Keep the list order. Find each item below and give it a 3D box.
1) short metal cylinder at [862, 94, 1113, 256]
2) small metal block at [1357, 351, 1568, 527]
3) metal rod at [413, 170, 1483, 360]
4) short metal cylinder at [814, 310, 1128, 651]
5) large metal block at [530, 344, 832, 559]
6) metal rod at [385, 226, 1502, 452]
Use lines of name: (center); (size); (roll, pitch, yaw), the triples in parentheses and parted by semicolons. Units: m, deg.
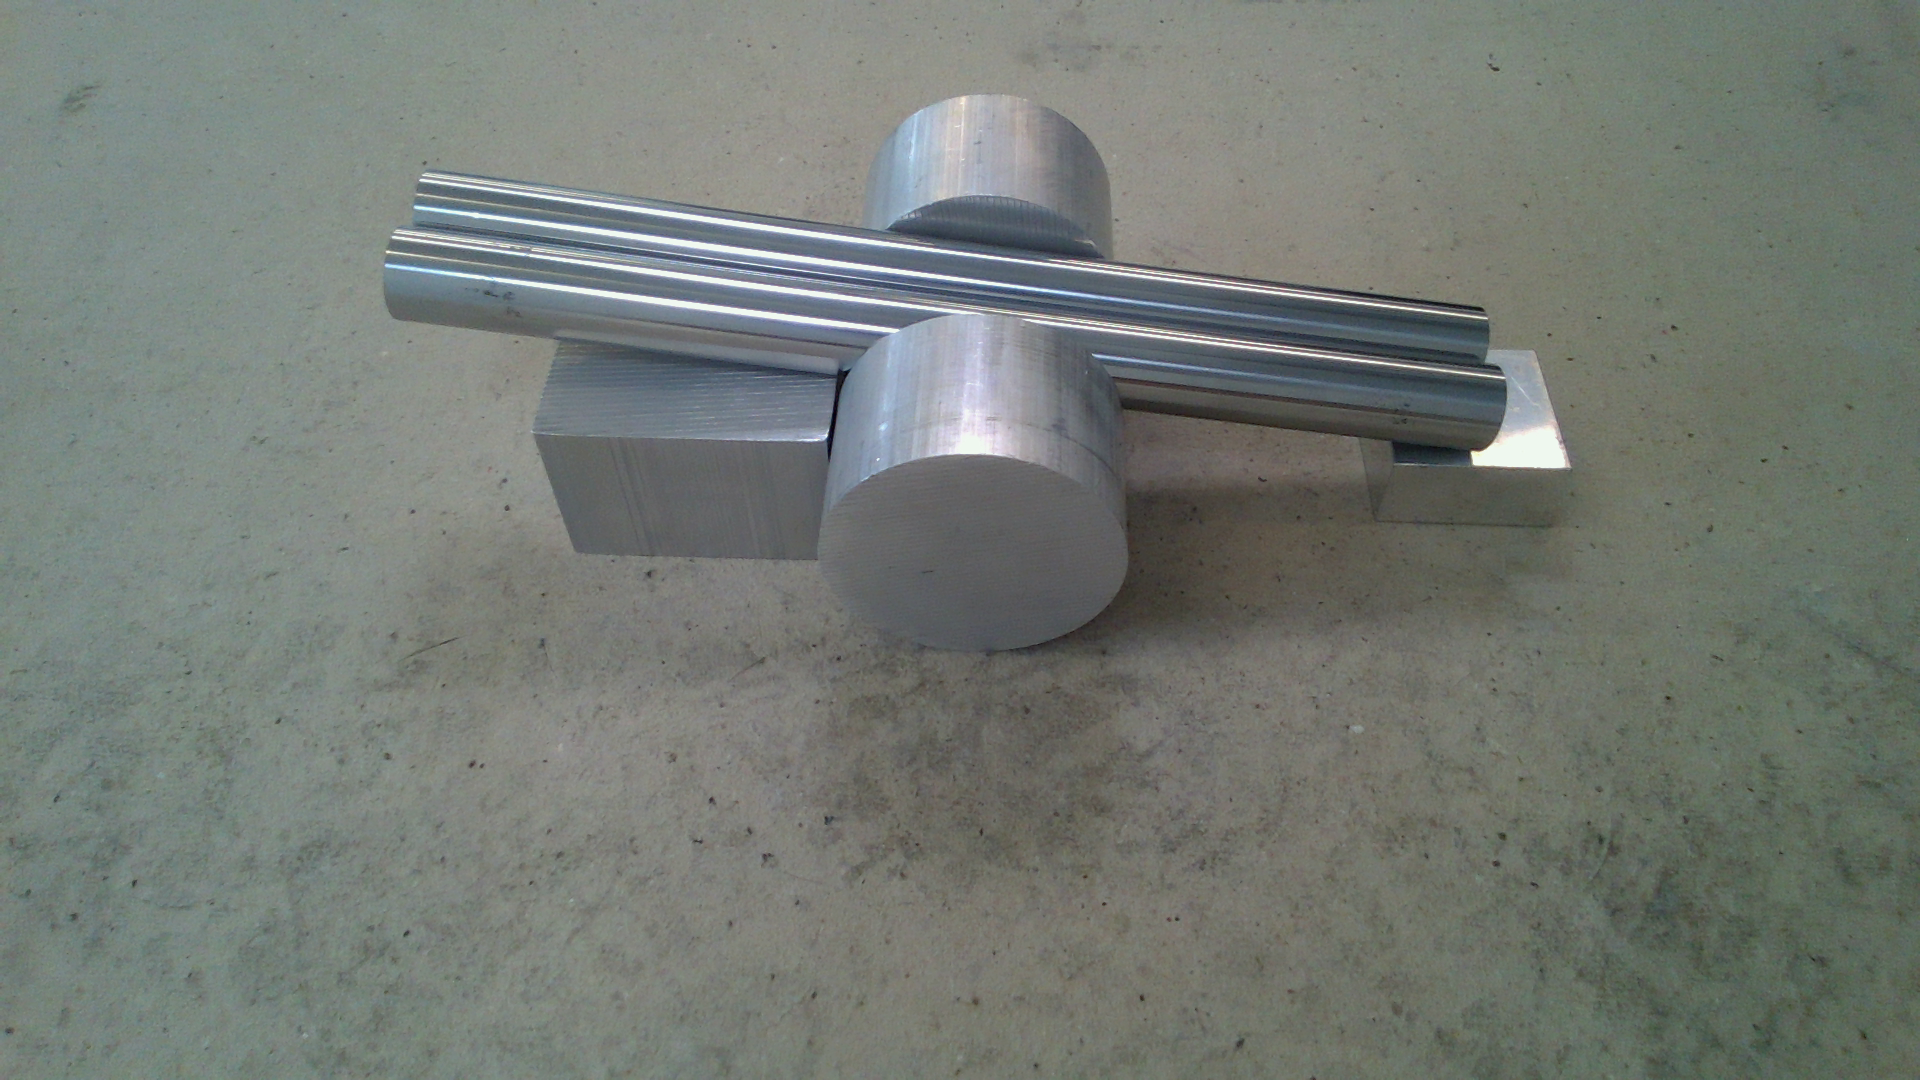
short metal cylinder: (0.008, -0.091, 0.432); (0.080, 0.080, 0.050); (1, 50, 1)
small metal block: (0.150, -0.032, 0.419); (0.050, 0.025, 0.050); (2, 50, 2)
metal rod: (0.001, -0.073, 0.395); (0.300, 0.025, 0.025); (6, 50, -5)
short metal cylinder: (0.004, -0.014, 0.368); (0.080, 0.080, 0.050); (1, 50, 1)
large metal block: (-0.073, -0.042, 0.411); (0.080, 0.050, 0.080); (1, 50, 1)
metal rod: (0.000, -0.054, 0.379); (0.300, 0.025, 0.025); (6, 50, -5)
